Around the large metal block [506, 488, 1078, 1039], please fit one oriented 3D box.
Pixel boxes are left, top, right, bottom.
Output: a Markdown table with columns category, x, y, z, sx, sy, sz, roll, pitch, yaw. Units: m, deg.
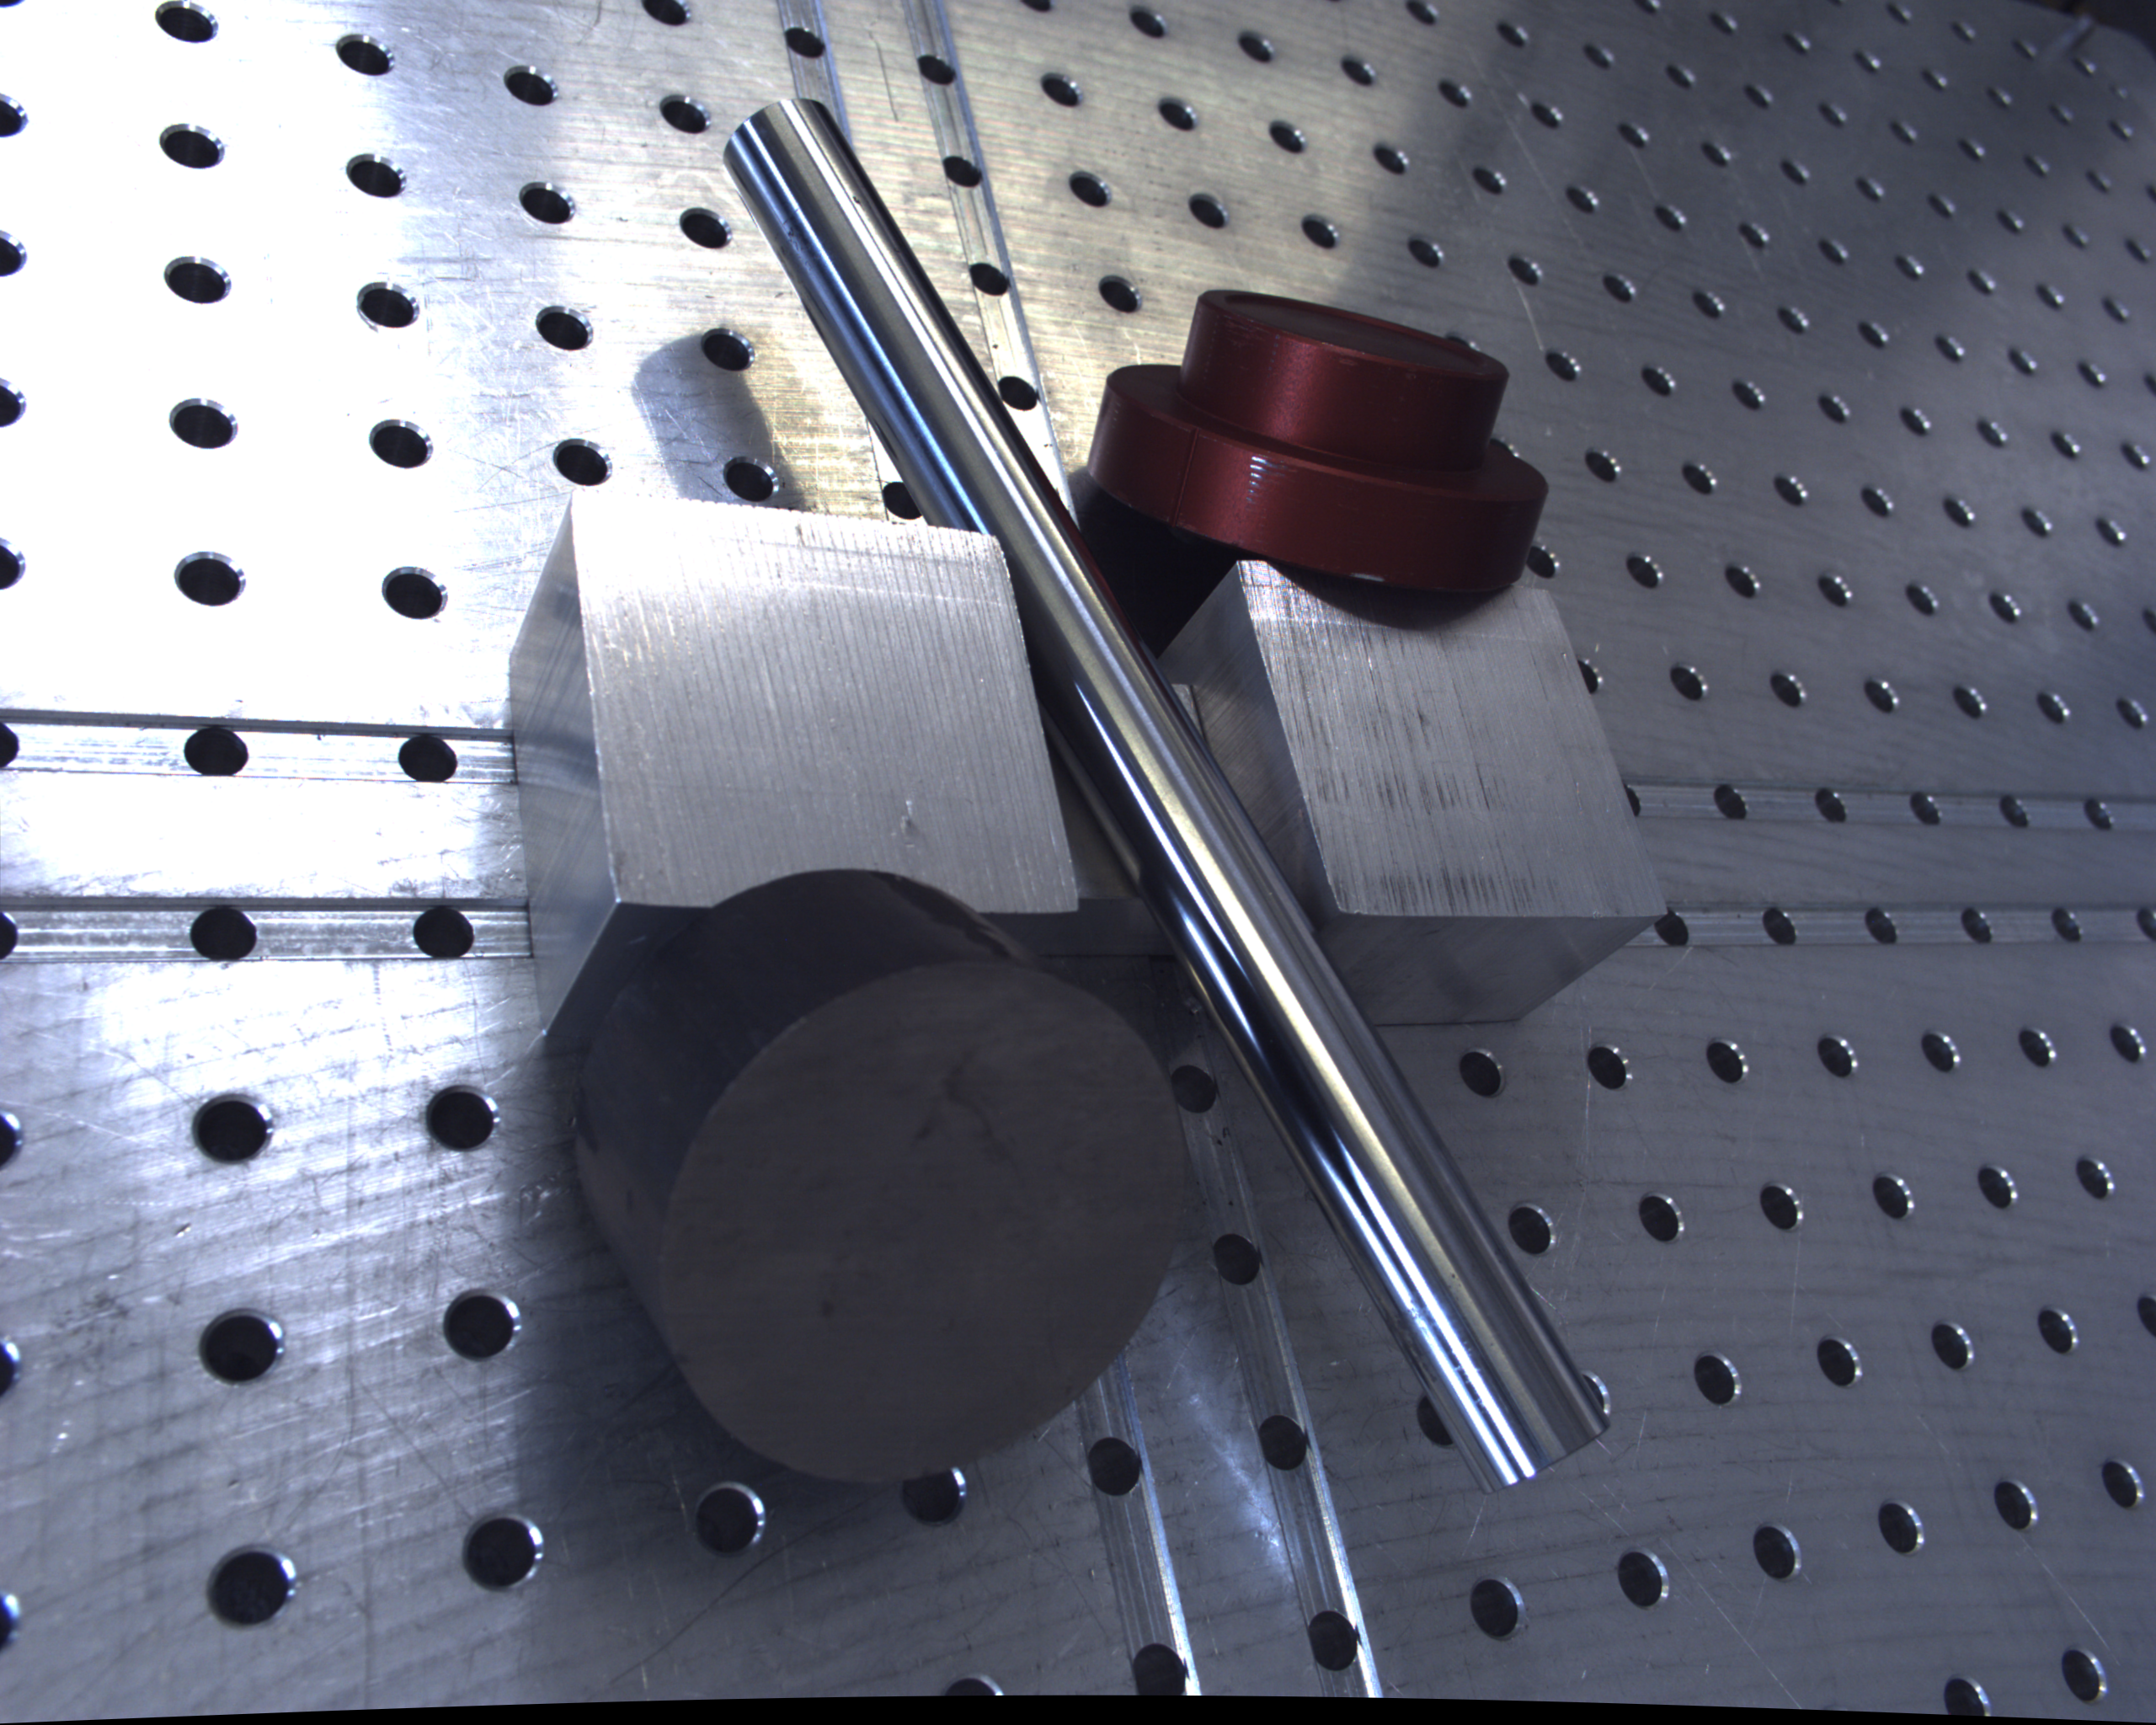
| category | x | y | z | sx | sy | sz | roll | pitch | yaw |
| --- | --- | --- | --- | --- | --- | --- | --- | --- | --- |
| large metal block | -0.054 | -0.015 | 0.373 | 0.081 | 0.050 | 0.080 | 2 | 61 | -27 |

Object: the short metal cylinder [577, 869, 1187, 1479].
| category | x | y | z | sx | sy | sz | roll | pitch | yaw |
| --- | --- | --- | --- | --- | --- | --- | --- | --- | --- |
| short metal cylinder | -0.031 | 0.046 | 0.320 | 0.081 | 0.050 | 0.079 | -8 | 108 | -25 |

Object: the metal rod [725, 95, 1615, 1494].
| category | x | y | z | sx | sy | sz | roll | pitch | yaw |
| --- | --- | --- | --- | --- | --- | --- | --- | --- | --- |
| metal rod | 0.009 | -0.024 | 0.394 | 0.025 | 0.025 | 0.299 | -19 | 72 | -35 |

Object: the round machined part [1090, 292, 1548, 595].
| category | x | y | z | sx | sy | sz | roll | pitch | yaw |
| --- | --- | --- | --- | --- | --- | --- | --- | --- | --- |
| round machined part | 0.055 | -0.095 | 0.453 | 0.099 | 0.042 | 0.098 | 12 | 23 | -5 |

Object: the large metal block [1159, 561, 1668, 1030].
| category | x | y | z | sx | sy | sz | roll | pitch | yaw |
| --- | --- | --- | --- | --- | --- | --- | --- | --- | --- |
| large metal block | 0.064 | -0.013 | 0.435 | 0.081 | 0.050 | 0.080 | 1 | 61 | -28 |

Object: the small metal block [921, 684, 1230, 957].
| category | x | y | z | sx | sy | sz | roll | pitch | yaw |
| --- | --- | --- | --- | --- | --- | --- | --- | --- | --- |
| small metal block | 0.000 | -0.009 | 0.414 | 0.050 | 0.025 | 0.050 | 1 | 61 | -28 |
